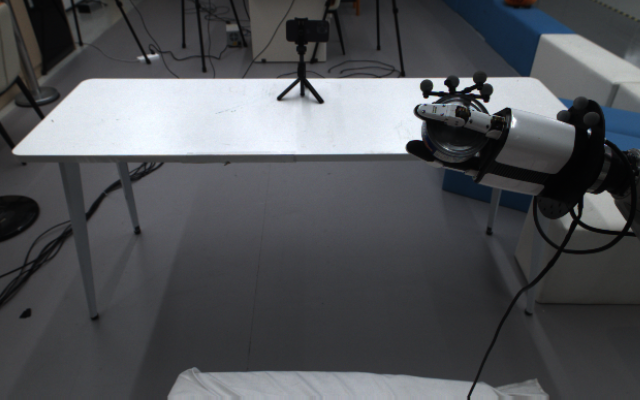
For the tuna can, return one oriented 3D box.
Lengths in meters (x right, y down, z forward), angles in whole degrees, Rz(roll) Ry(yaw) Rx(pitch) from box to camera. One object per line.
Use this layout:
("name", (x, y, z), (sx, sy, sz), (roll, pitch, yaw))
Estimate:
("tuna can", (0.179, -0.096, 0.637), (0.085, 0.034, 0.085), (0, 74, 1))
